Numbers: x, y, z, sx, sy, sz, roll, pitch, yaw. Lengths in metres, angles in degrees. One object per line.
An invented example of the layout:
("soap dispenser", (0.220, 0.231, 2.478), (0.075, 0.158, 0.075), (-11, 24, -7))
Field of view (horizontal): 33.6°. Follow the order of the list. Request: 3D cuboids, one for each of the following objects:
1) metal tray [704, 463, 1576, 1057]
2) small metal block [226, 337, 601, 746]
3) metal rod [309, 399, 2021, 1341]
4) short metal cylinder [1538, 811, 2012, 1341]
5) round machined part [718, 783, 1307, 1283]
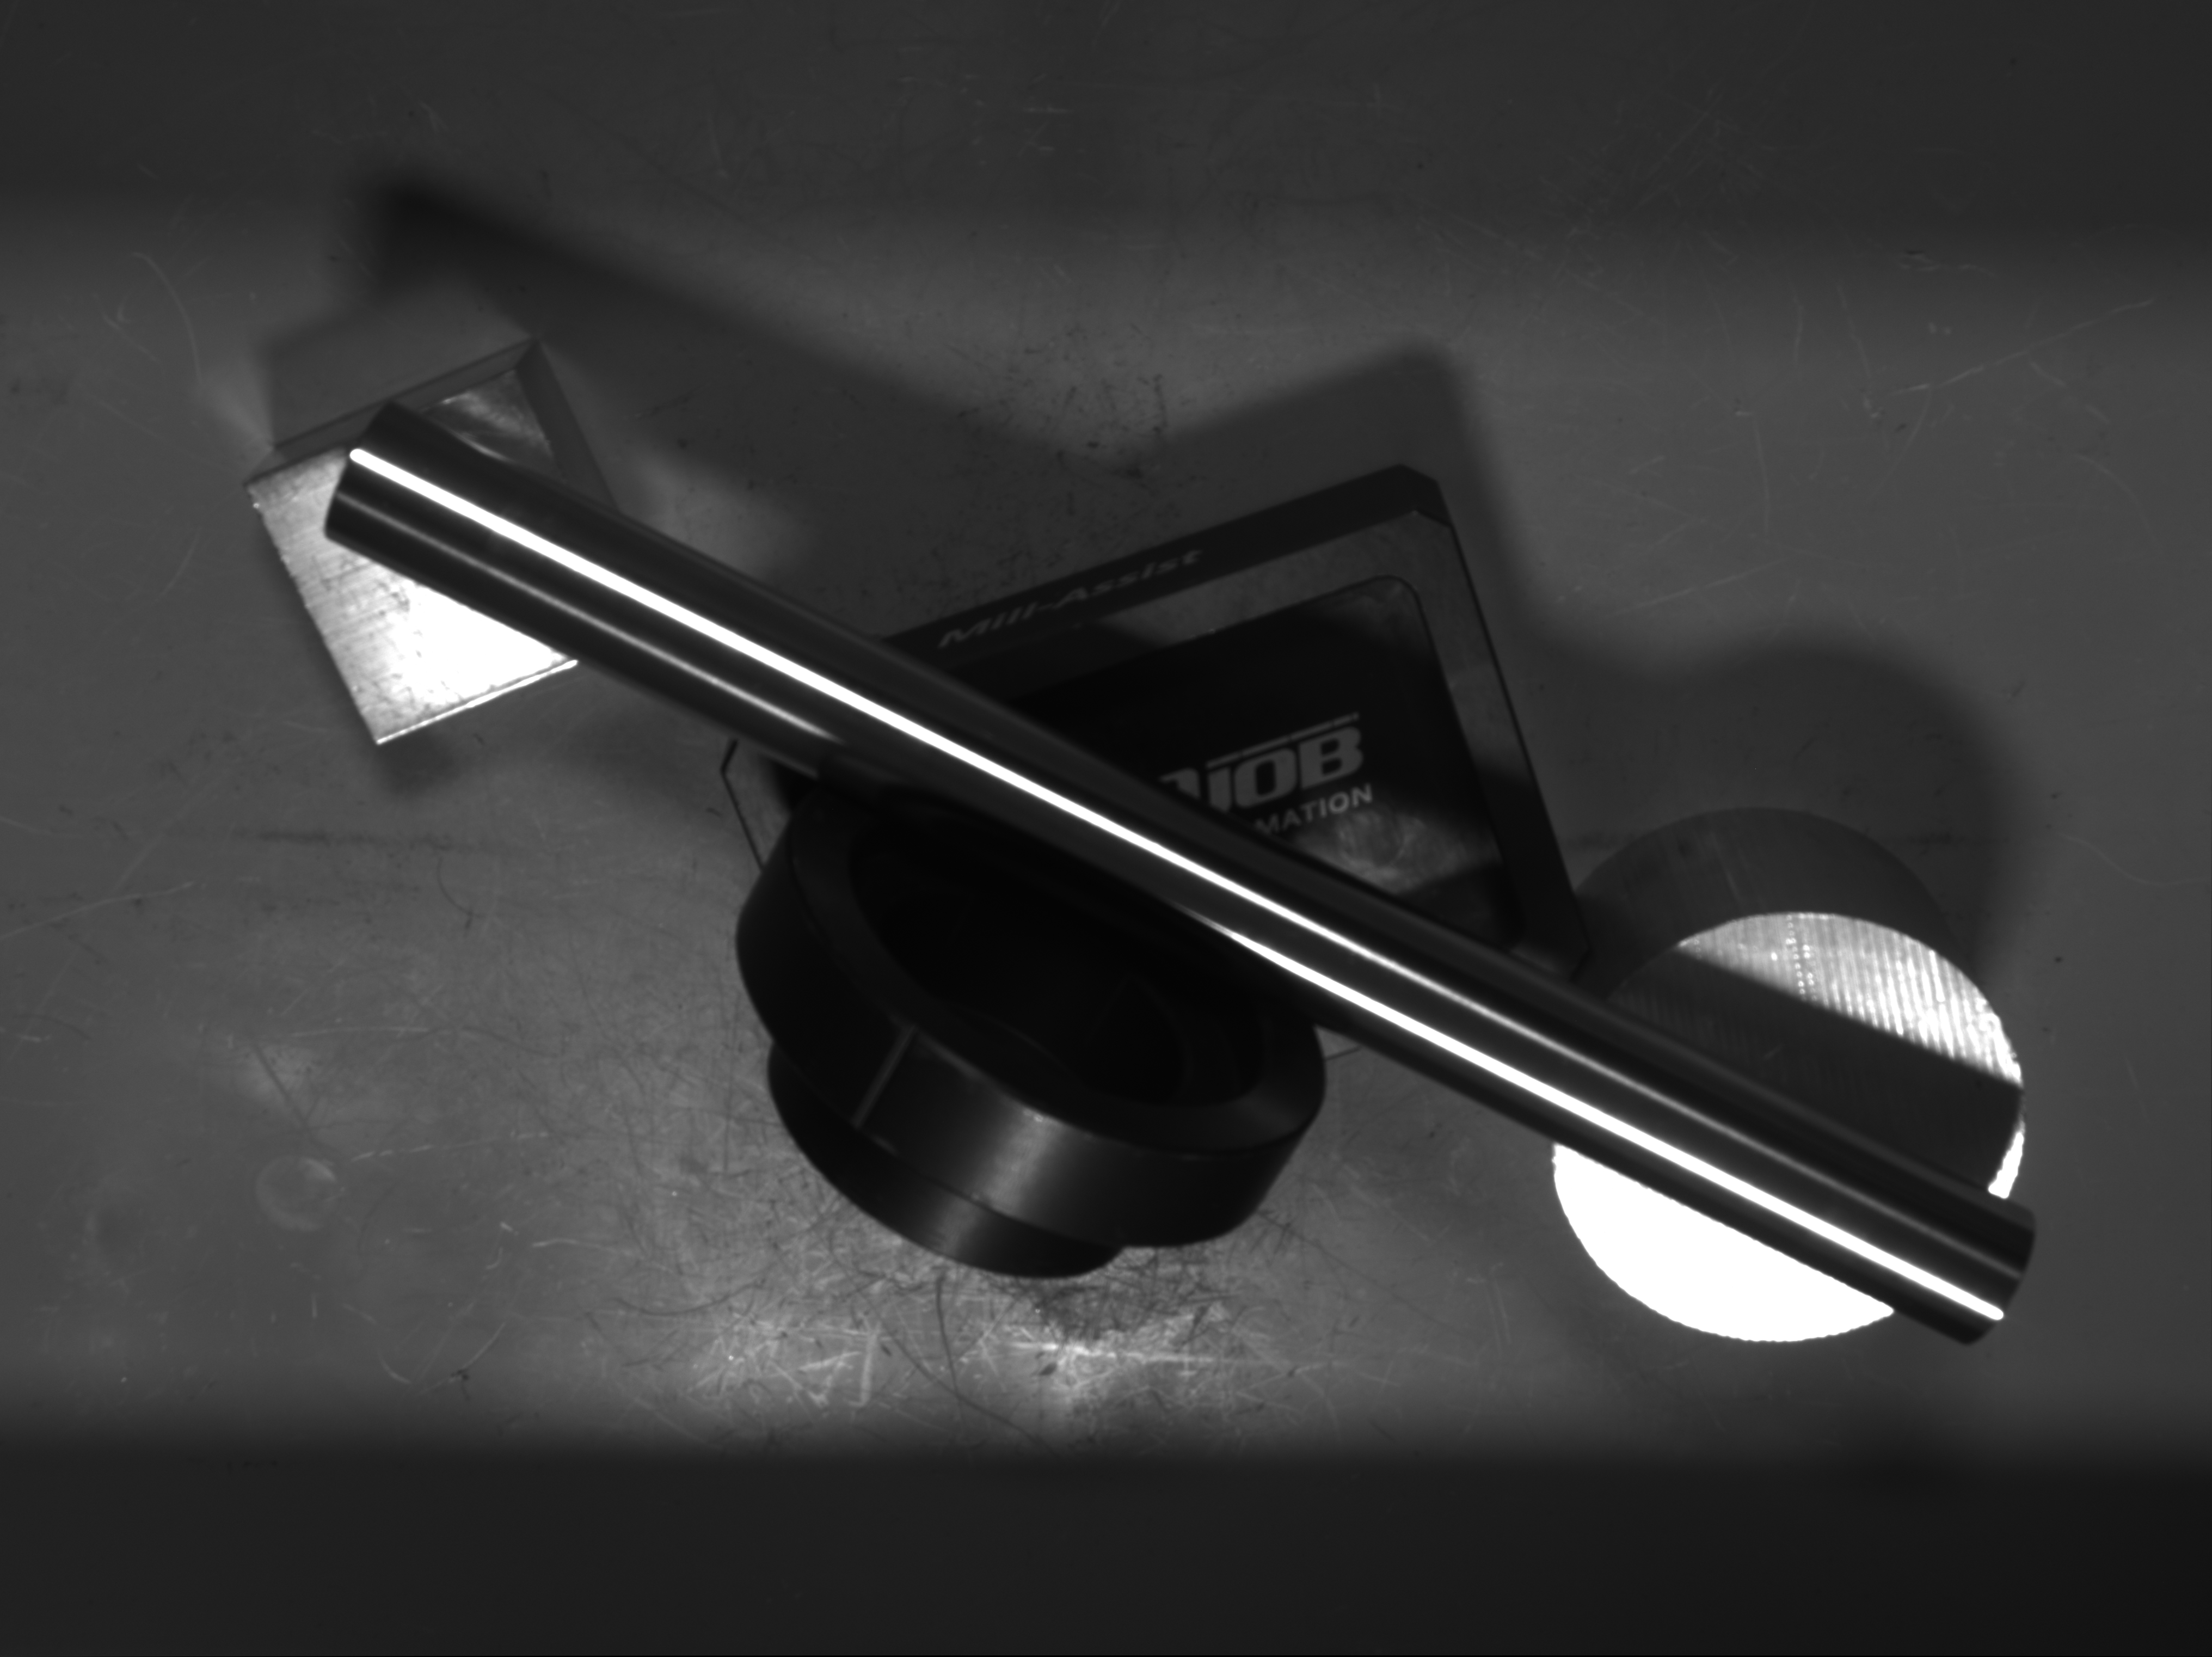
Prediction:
("metal tray", (0.006, 0.000, 0.639), (0.130, 0.030, 0.090), (-18, 109, 6))
("small metal block", (-0.113, -0.049, 0.623), (0.050, 0.025, 0.050), (-21, 109, 7))
("metal rod", (0.011, 0.008, 0.601), (0.300, 0.025, 0.025), (26, 108, -3))
("short metal cylinder", (0.114, 0.043, 0.646), (0.080, 0.050, 0.080), (0, 110, -1))
("round machined part", (-0.019, 0.037, 0.602), (0.098, 0.098, 0.042), (26, 115, -10))
